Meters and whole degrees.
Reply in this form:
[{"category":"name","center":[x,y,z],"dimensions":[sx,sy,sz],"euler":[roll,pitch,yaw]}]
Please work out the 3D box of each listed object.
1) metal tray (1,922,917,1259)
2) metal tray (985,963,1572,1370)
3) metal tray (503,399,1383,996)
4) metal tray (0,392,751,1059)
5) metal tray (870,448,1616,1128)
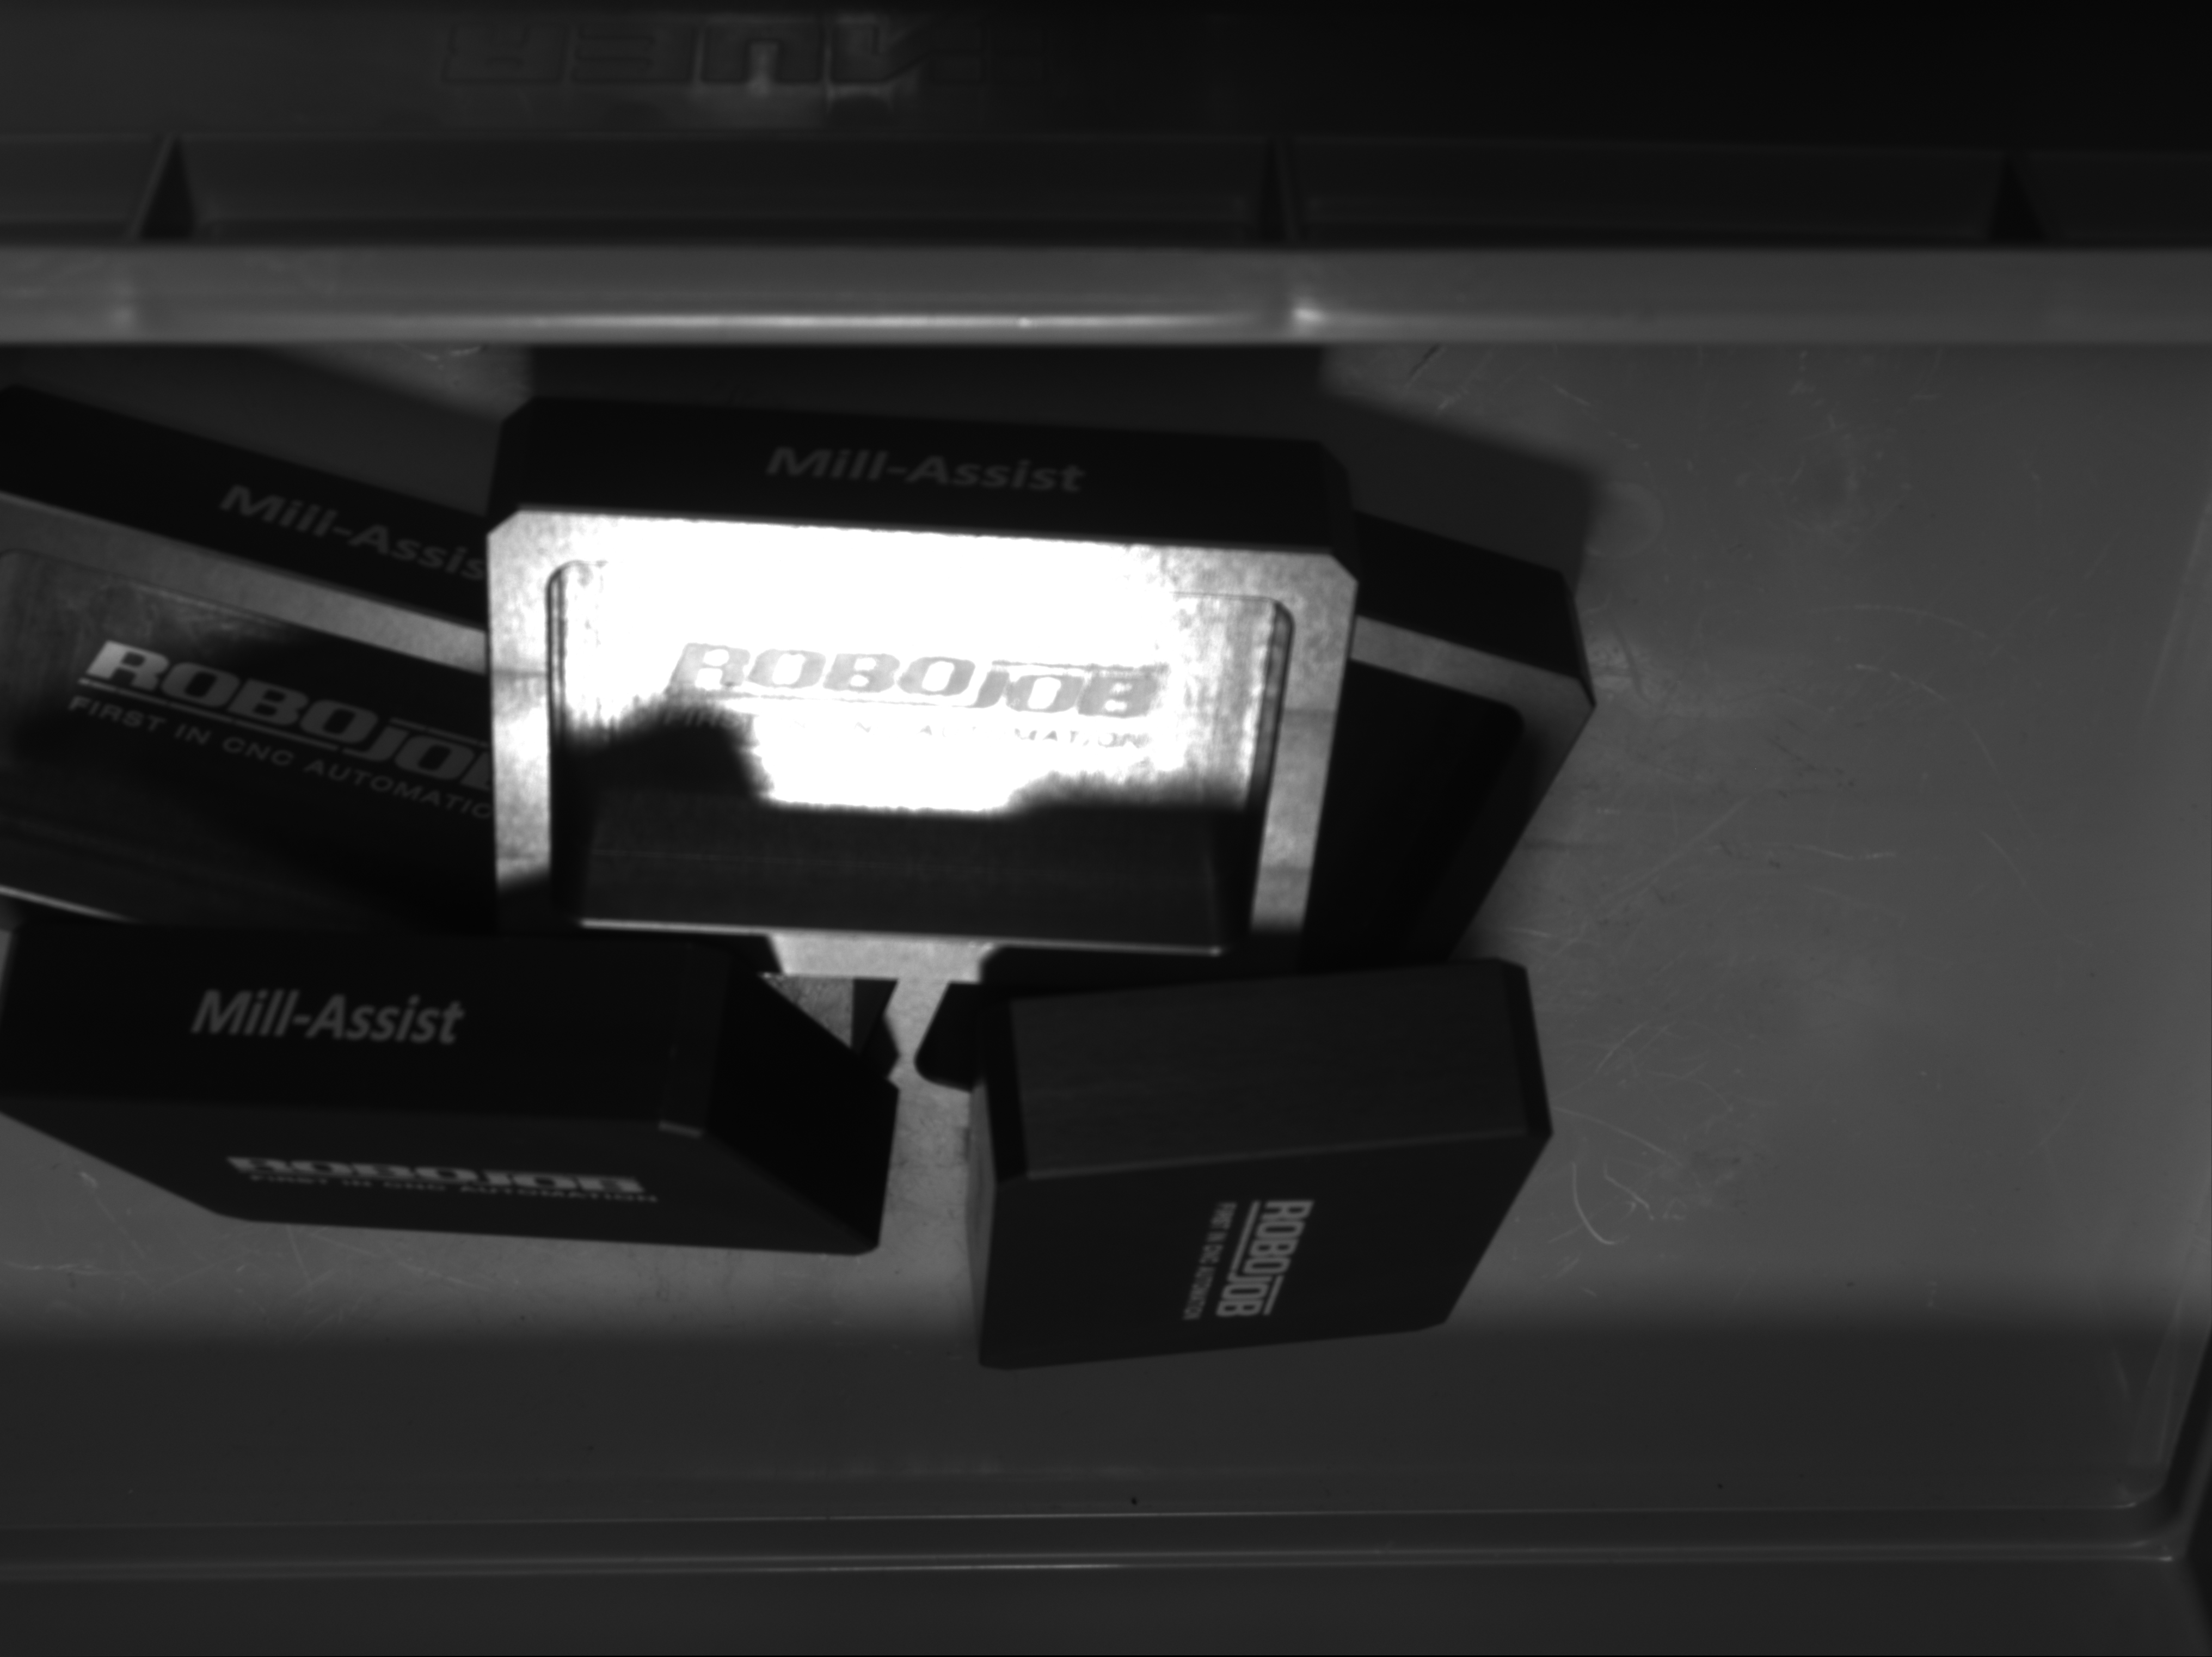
[{"category":"metal tray","center":[-0.108,0.045,0.624],"dimensions":[0.130,0.030,0.090],"euler":[1,161,18]},{"category":"metal tray","center":[0.026,0.063,0.645],"dimensions":[0.090,0.030,0.130],"euler":[-5,159,-5]},{"category":"metal tray","center":[-0.027,-0.019,0.577],"dimensions":[0.130,0.030,0.090],"euler":[3,130,-4]},{"category":"metal tray","center":[-0.131,-0.013,0.617],"dimensions":[0.130,0.030,0.090],"euler":[15,128,-14]},{"category":"metal tray","center":[0.020,0.003,0.637],"dimensions":[0.090,0.030,0.130],"euler":[15,128,-14]}]
